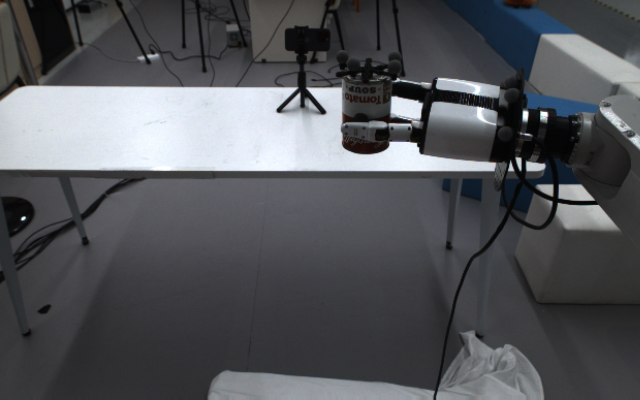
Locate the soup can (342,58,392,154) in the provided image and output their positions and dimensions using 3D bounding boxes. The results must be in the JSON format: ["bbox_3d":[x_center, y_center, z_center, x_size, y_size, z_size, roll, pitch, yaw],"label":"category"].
[{"bbox_3d":[0.064,-0.124,0.660,0.067,0.101,0.067,-2,34,1],"label":"soup can"}]
